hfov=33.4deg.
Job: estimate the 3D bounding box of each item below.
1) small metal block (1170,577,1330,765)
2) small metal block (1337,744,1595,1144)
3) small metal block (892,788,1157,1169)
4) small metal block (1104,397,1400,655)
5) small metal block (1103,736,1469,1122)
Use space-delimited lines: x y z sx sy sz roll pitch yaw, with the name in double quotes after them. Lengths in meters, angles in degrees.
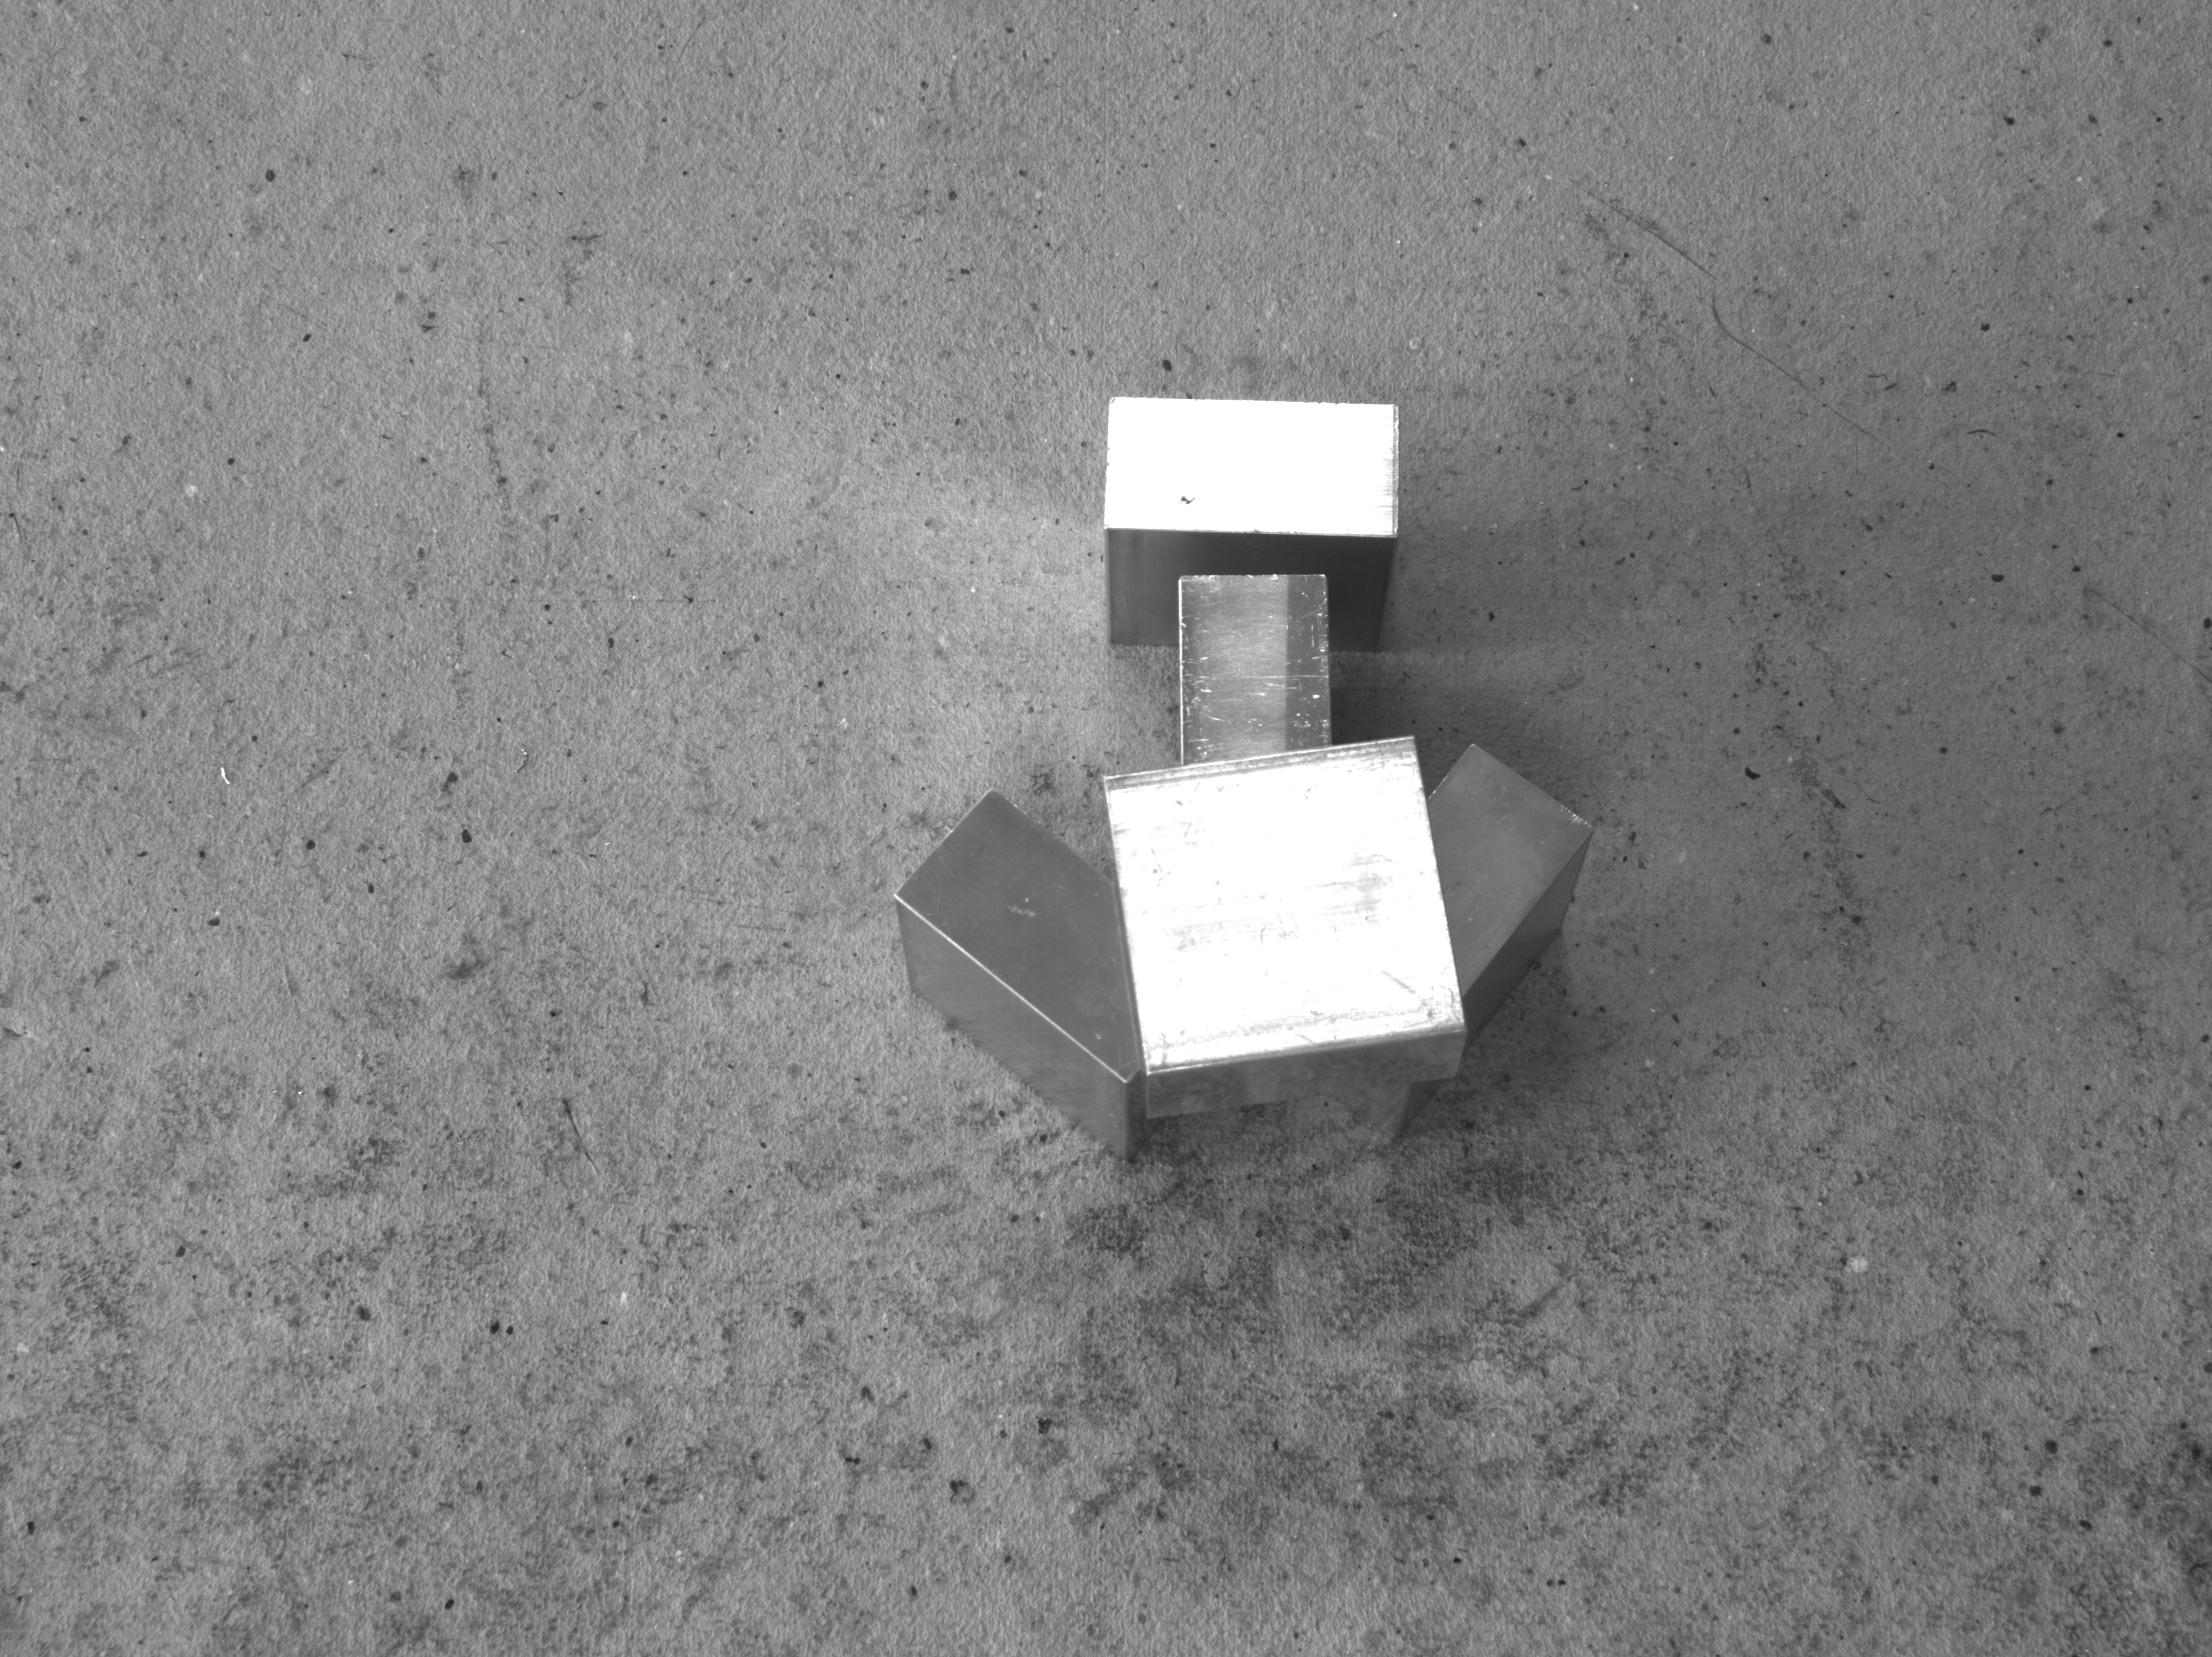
0.024 -0.010 0.637 0.025 0.050 0.050 0 69 -1 "small metal block"
0.056 0.020 0.625 0.025 0.050 0.050 35 74 12 "small metal block"
-0.008 0.026 0.622 0.050 0.050 0.025 39 74 12 "small metal block"
0.025 -0.053 0.652 0.050 0.050 0.025 2 70 1 "small metal block"
0.028 0.016 0.587 0.050 0.025 0.050 -8 69 -2 "small metal block"
